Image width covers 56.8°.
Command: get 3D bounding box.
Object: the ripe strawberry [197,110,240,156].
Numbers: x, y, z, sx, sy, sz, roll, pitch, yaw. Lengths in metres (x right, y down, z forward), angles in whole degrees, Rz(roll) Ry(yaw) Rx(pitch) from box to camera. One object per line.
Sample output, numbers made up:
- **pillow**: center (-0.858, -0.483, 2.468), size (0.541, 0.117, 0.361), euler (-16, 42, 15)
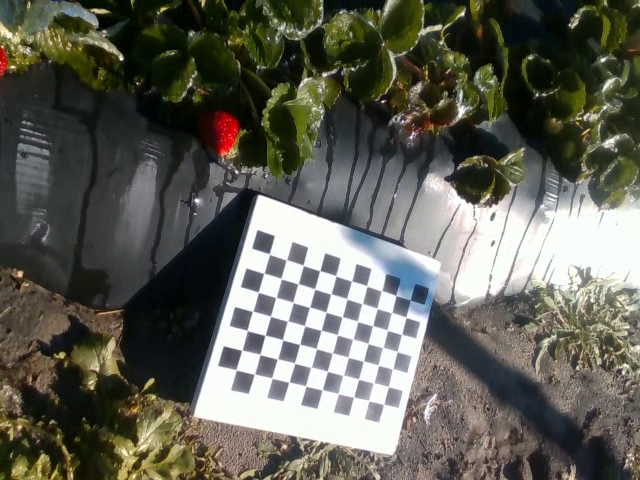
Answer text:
- **ripe strawberry**: center (-0.092, -0.098, 0.543), size (0.041, 0.053, 0.047), euler (12, -44, -25)
